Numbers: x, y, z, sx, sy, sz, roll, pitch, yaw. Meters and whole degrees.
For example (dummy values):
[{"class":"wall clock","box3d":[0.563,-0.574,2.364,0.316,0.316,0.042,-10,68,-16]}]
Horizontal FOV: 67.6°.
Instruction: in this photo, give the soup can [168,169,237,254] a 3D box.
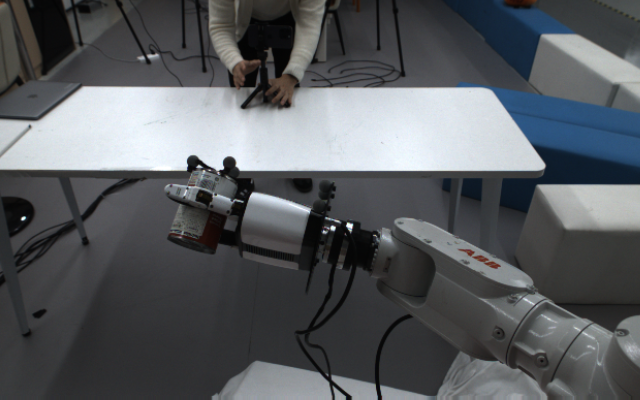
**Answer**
[{"class":"soup can","box3d":[-0.158,0.017,0.663,0.067,0.067,0.101,12,72,13]}]
